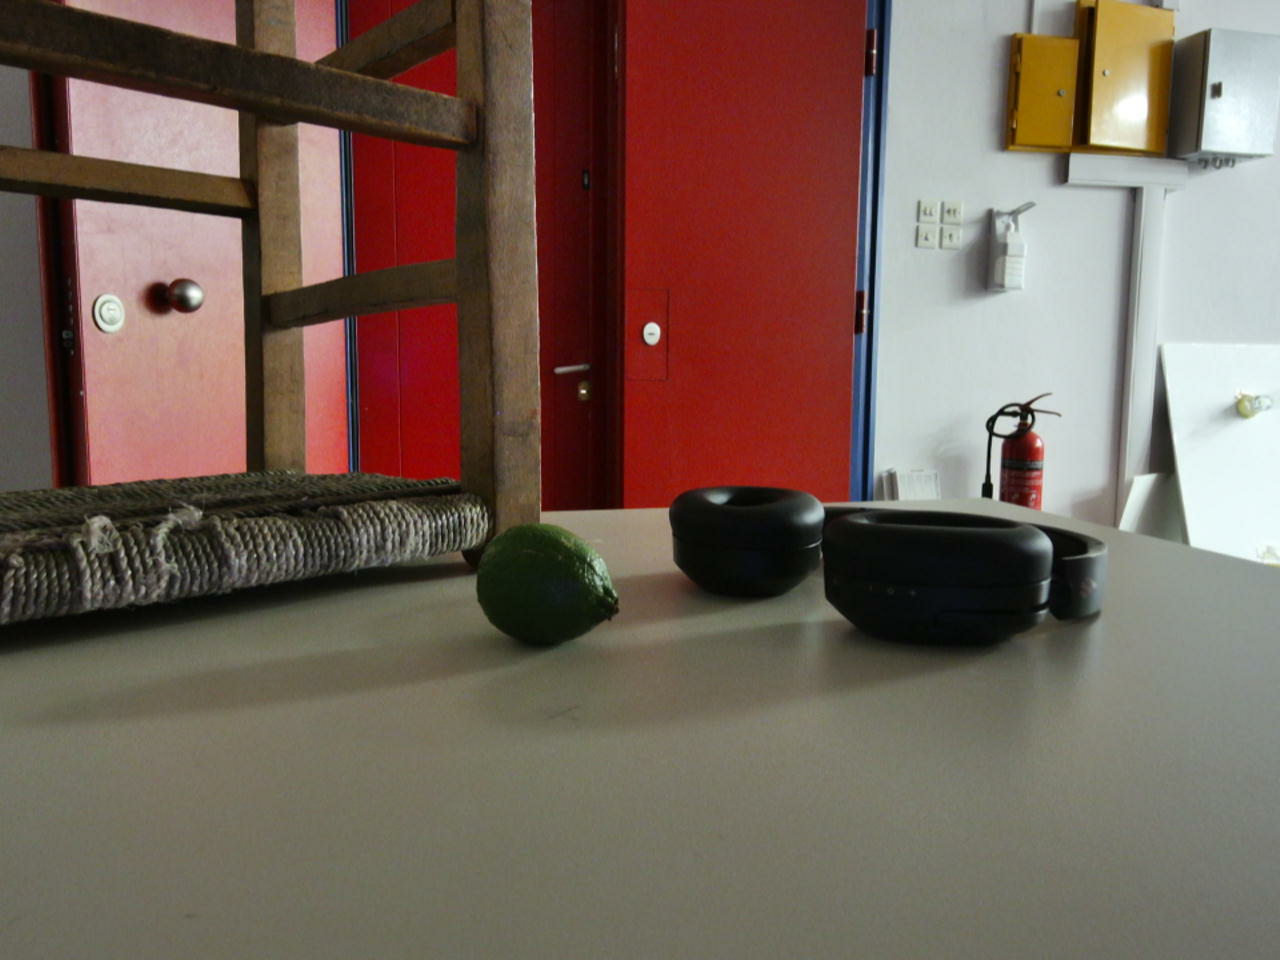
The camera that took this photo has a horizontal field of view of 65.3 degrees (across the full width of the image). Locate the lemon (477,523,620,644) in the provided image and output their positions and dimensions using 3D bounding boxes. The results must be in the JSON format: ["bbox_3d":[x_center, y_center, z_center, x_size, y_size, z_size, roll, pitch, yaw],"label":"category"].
[{"bbox_3d":[-0.041,0.044,0.429,0.057,0.051,0.054,-2,4,-17],"label":"lemon"}]
